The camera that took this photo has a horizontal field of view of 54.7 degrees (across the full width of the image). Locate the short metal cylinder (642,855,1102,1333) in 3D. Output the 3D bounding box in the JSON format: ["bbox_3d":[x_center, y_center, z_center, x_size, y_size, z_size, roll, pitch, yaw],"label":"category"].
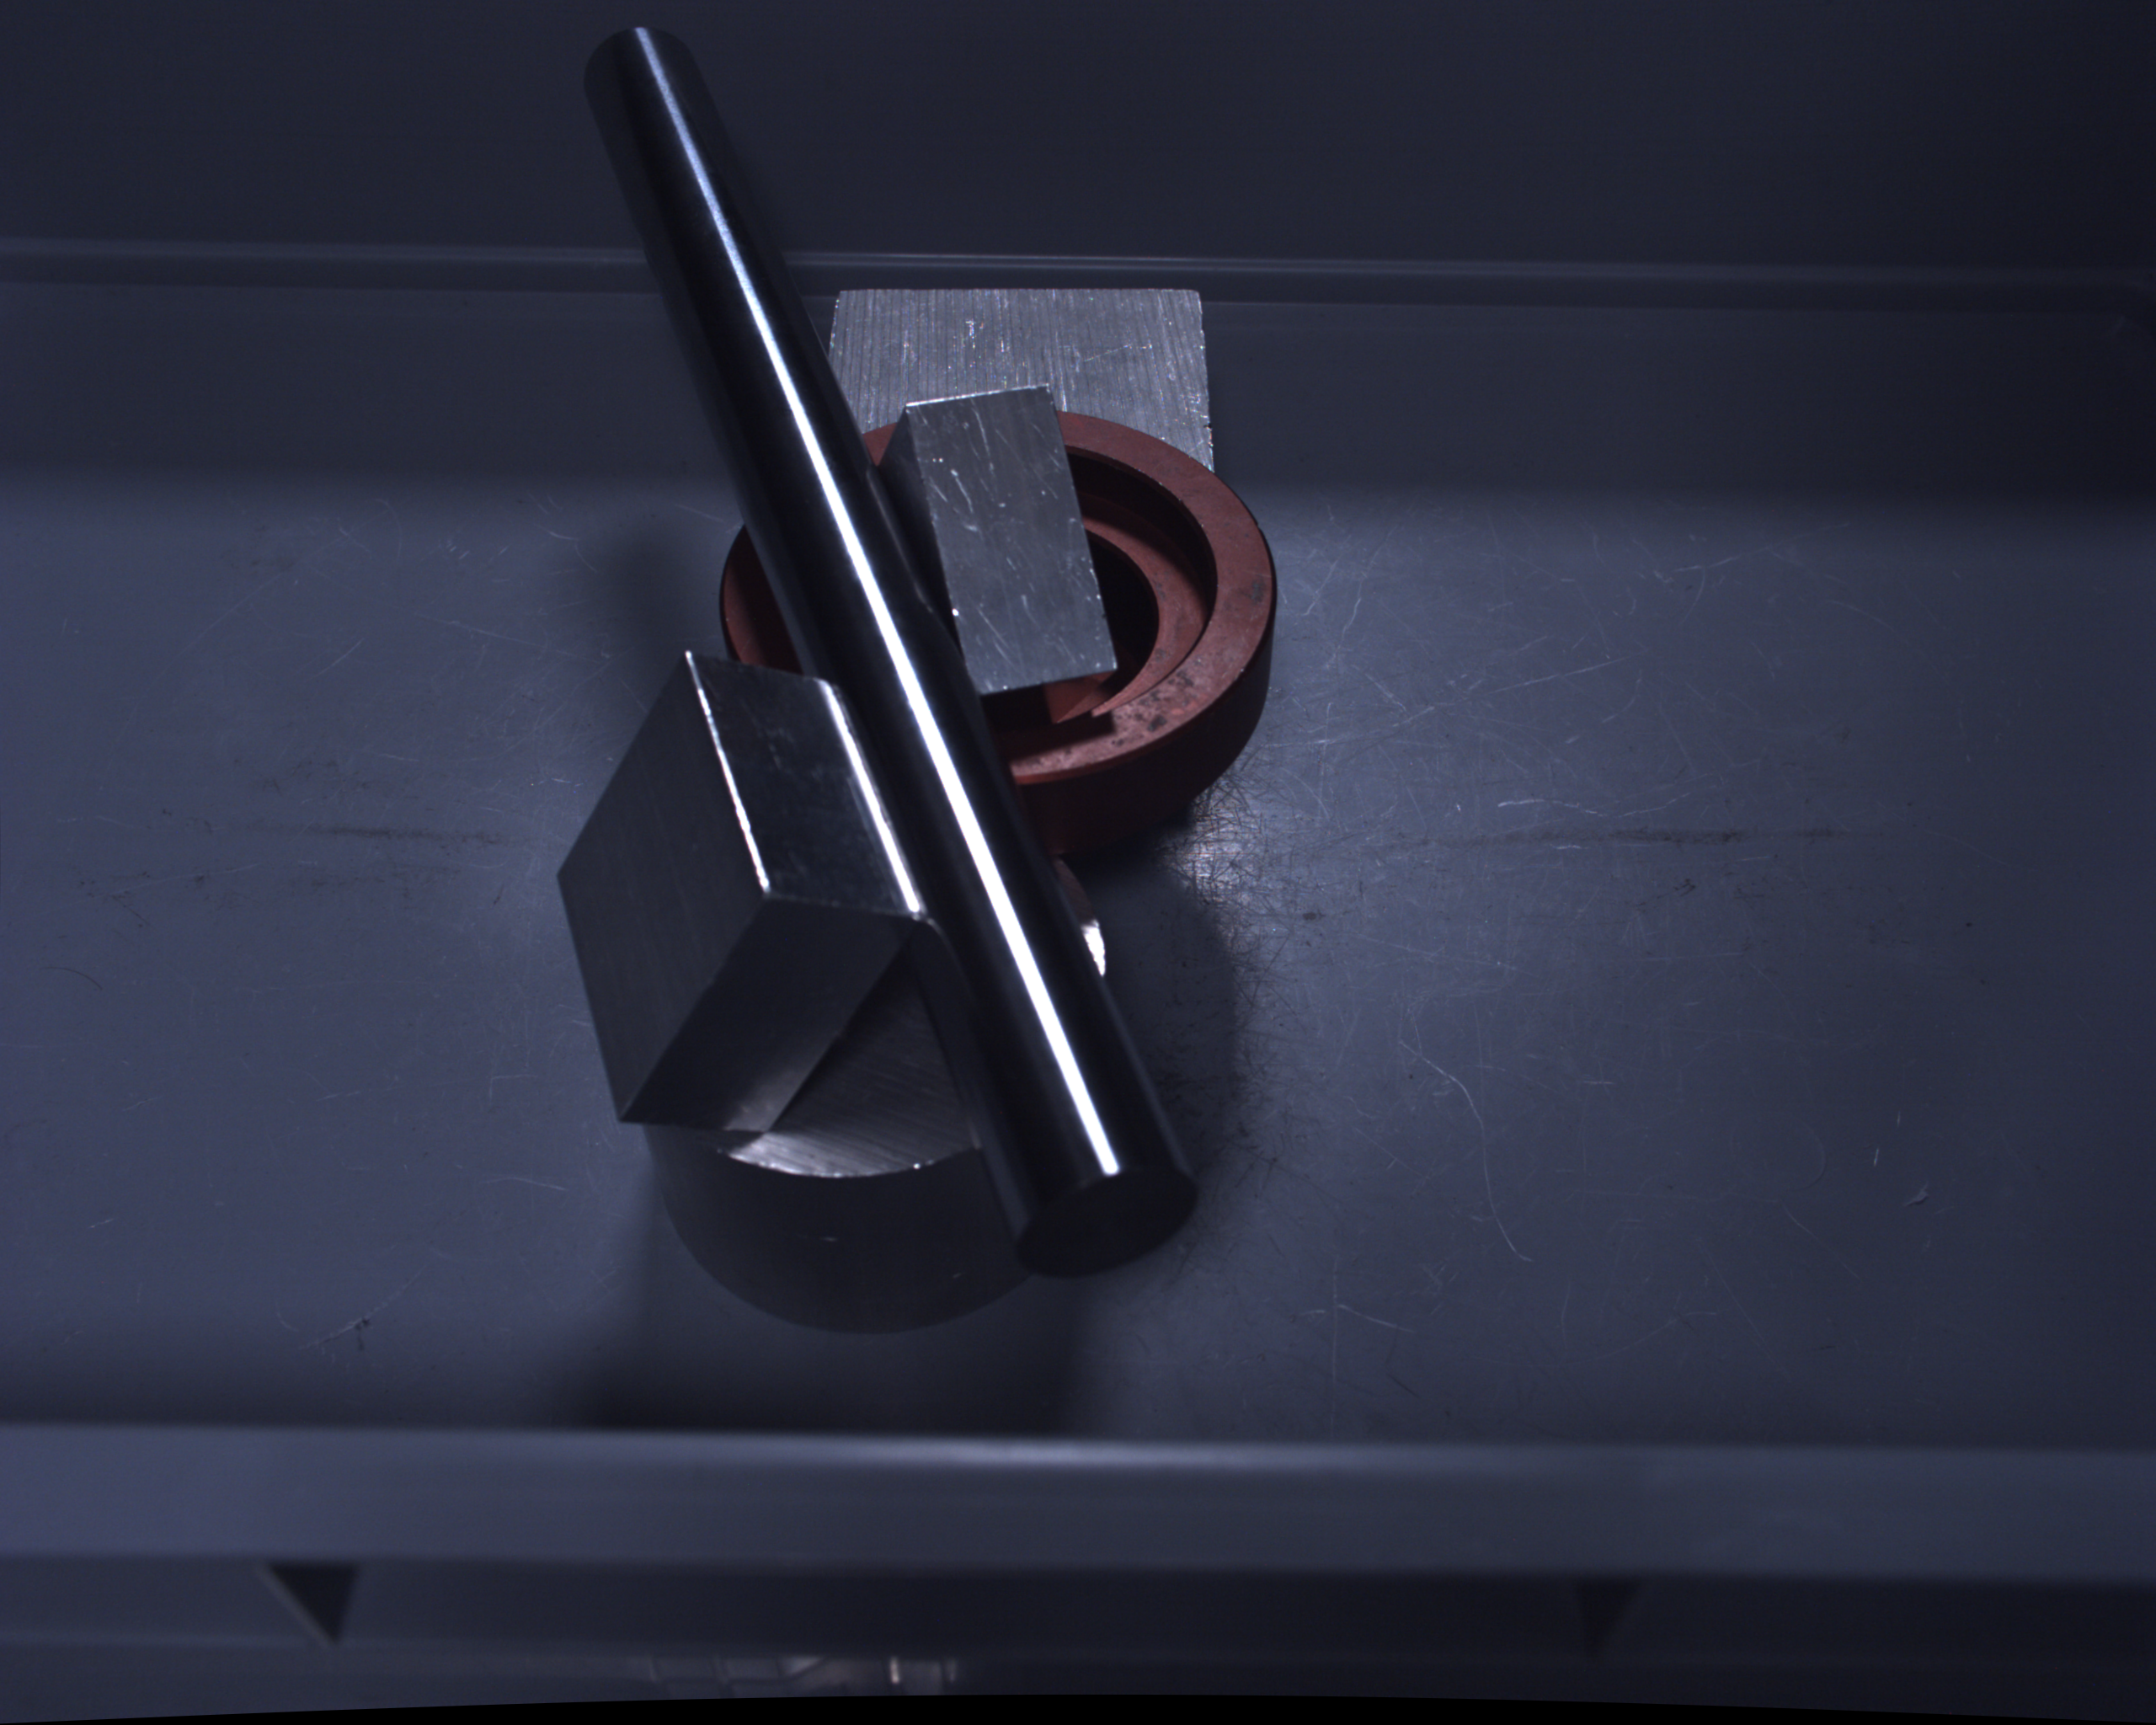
[{"bbox_3d":[-0.036,0.033,0.359,0.081,0.050,0.080,0,50,0],"label":"short metal cylinder"}]

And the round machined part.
[{"bbox_3d":[-0.014,-0.038,0.386,0.099,0.042,0.098,0,50,0],"label":"round machined part"}]

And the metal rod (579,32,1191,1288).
[{"bbox_3d":[-0.046,-0.060,0.363,0.025,0.025,0.299,-15,52,-12],"label":"metal rod"}]

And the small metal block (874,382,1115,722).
[{"bbox_3d":[-0.017,-0.050,0.367,0.025,0.050,0.050,-12,86,-15],"label":"small metal block"}]

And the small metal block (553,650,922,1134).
[{"bbox_3d":[-0.053,0.005,0.314,0.025,0.050,0.050,11,40,-37],"label":"small metal block"}]

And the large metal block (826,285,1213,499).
[{"bbox_3d":[-0.013,-0.081,0.453,0.081,0.050,0.080,0,50,-1],"label":"large metal block"}]
